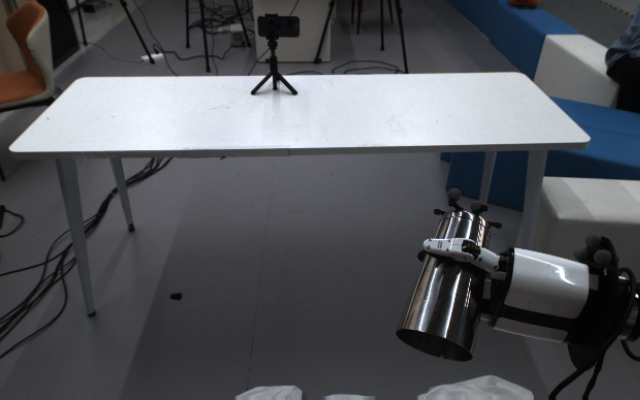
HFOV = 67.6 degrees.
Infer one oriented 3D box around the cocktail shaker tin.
[{"bbox_3d":[0.166,0.100,0.602,0.093,0.093,0.170,14,61,16],"label":"cocktail shaker tin"}]
